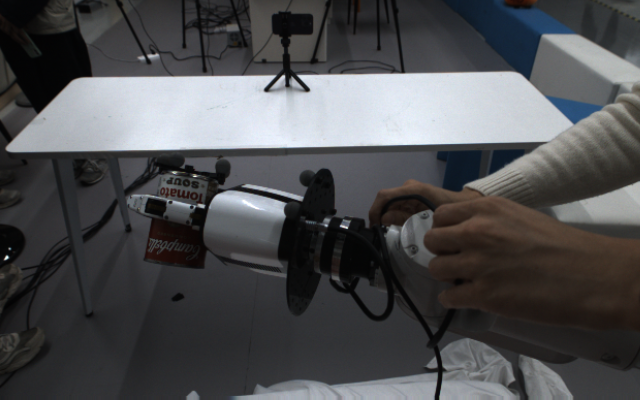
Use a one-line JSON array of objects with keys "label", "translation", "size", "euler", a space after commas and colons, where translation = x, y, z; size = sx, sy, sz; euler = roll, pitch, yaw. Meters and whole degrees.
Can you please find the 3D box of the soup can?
[{"label": "soup can", "translation": [-0.155, 0.024, 0.549], "size": [0.067, 0.101, 0.067], "euler": [9, -6, 1]}]
